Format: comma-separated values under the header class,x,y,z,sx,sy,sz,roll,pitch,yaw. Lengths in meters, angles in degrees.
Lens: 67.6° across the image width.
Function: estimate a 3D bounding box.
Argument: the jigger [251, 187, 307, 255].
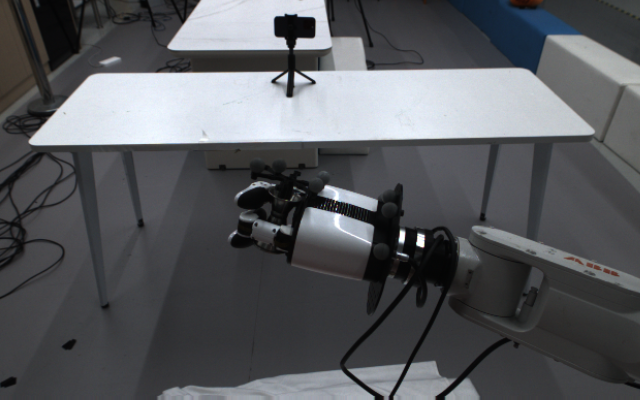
class,x,y,z,sx,sy,sz,roll,pitch,yaw
jigger,-0.047,0.023,0.576,0.043,0.071,0.043,15,17,-5
